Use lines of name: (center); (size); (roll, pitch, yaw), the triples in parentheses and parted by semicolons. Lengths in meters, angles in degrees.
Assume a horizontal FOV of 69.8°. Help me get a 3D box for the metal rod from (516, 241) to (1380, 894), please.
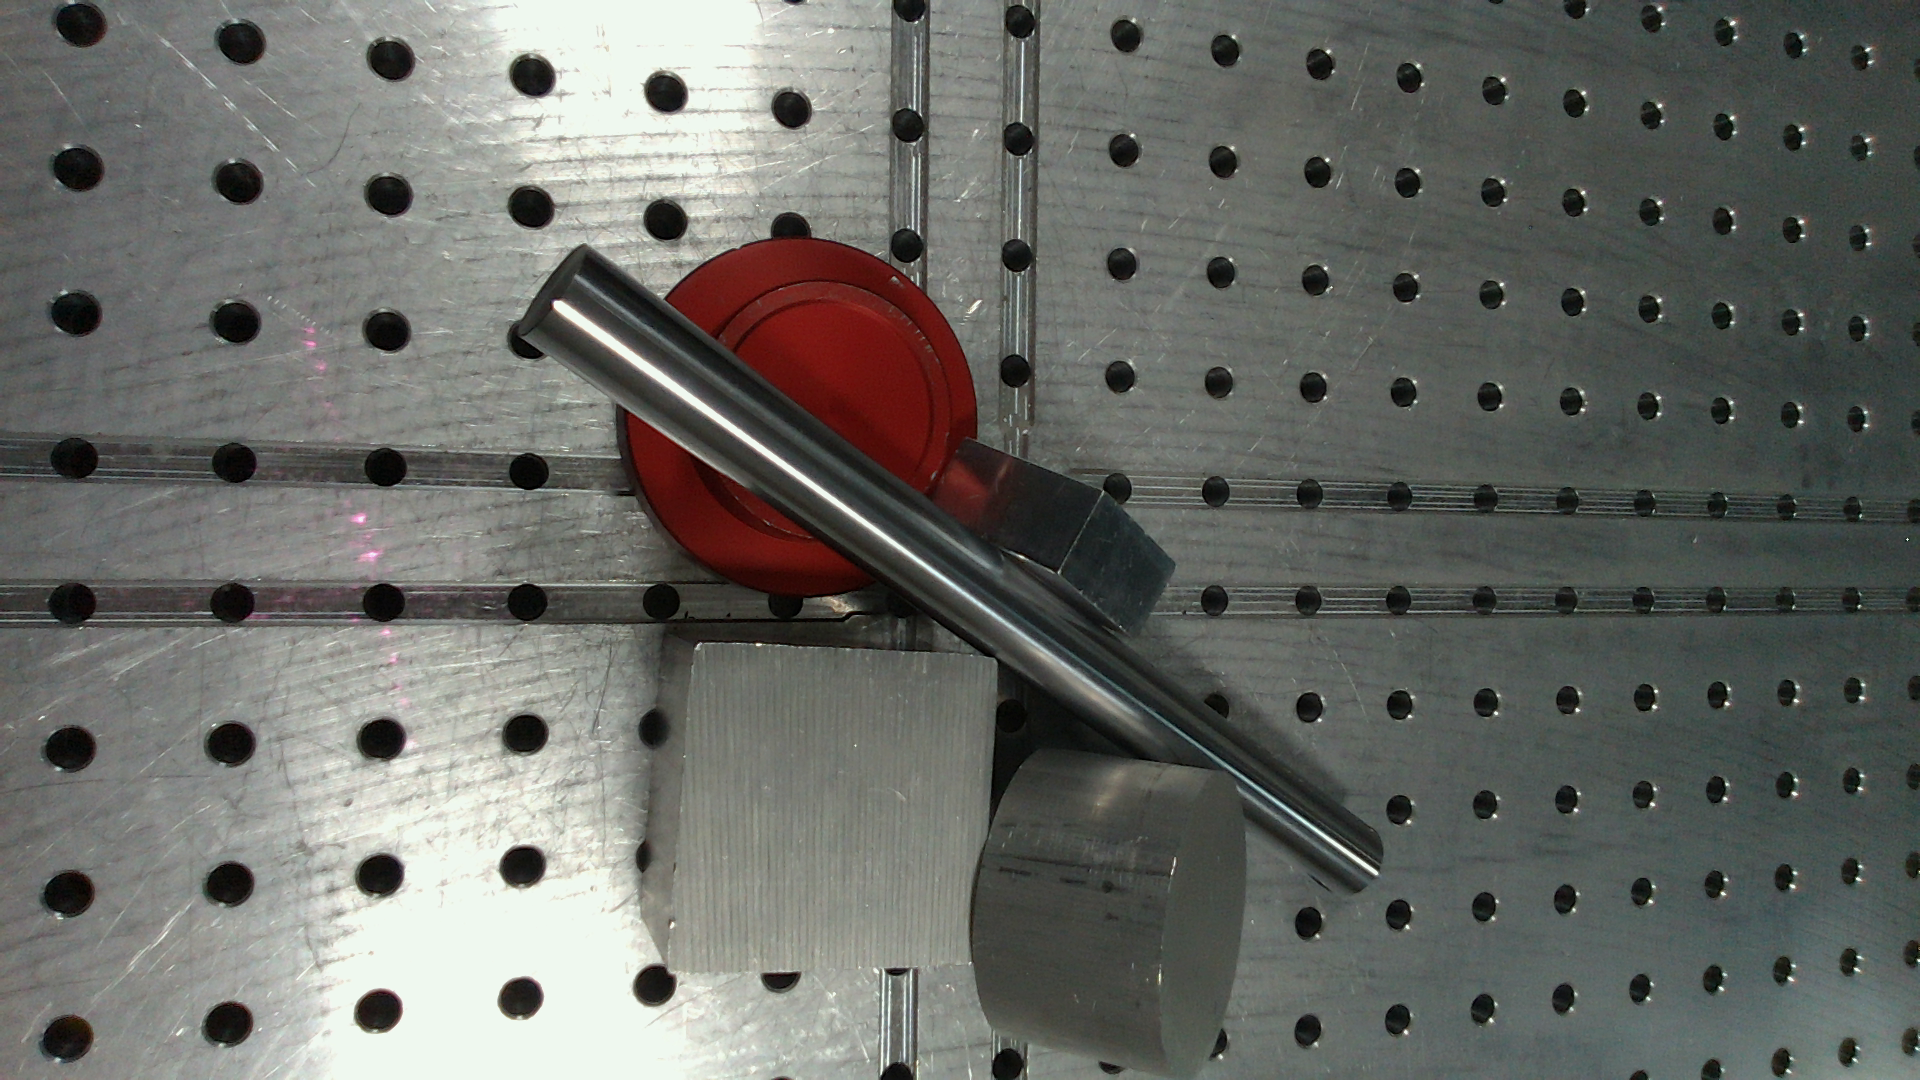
metal rod: (0.018, 0.024, 0.368); (0.301, 0.025, 0.025); (36, 78, -29)

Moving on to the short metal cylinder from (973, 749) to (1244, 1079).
short metal cylinder: (0.043, 0.100, 0.376); (0.080, 0.050, 0.080); (4, 90, -65)

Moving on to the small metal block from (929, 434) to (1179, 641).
small metal block: (0.025, -0.001, 0.382); (0.050, 0.050, 0.025); (38, 79, -51)

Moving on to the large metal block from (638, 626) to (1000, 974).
large metal block: (-0.039, 0.067, 0.366); (0.080, 0.050, 0.080); (5, 88, -20)

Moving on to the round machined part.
round machined part: (-0.041, -0.034, 0.372); (0.098, 0.042, 0.098); (0, 90, -20)
